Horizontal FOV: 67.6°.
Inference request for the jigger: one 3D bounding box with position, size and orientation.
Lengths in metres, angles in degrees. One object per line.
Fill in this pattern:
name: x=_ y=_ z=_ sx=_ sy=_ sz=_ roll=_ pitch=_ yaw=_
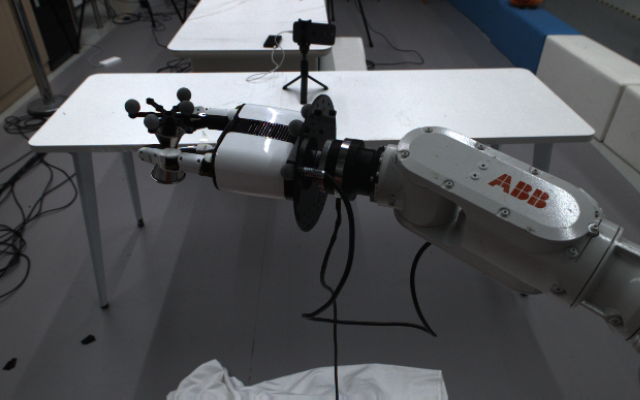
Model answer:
jigger: x=-0.188 y=-0.058 z=0.603 sx=0.043 sy=0.071 sz=0.043 roll=9 pitch=36 yaw=-7
